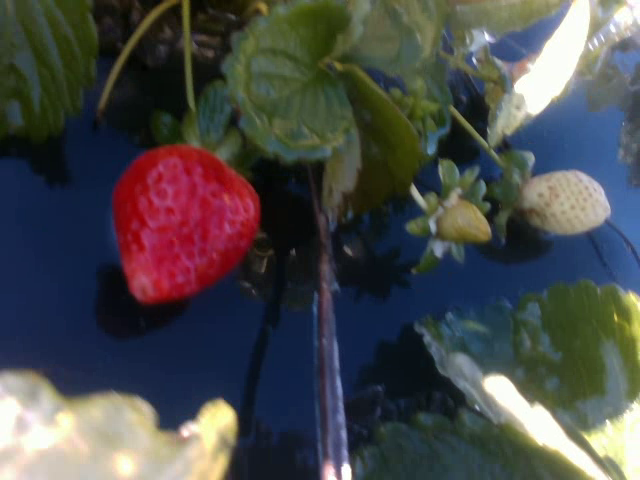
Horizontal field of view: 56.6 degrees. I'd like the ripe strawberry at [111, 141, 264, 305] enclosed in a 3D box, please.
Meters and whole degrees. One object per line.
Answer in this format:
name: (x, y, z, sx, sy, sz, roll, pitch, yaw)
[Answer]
ripe strawberry: (-0.030, -0.002, 0.136, 0.039, 0.047, 0.040, 30, -33, -24)
